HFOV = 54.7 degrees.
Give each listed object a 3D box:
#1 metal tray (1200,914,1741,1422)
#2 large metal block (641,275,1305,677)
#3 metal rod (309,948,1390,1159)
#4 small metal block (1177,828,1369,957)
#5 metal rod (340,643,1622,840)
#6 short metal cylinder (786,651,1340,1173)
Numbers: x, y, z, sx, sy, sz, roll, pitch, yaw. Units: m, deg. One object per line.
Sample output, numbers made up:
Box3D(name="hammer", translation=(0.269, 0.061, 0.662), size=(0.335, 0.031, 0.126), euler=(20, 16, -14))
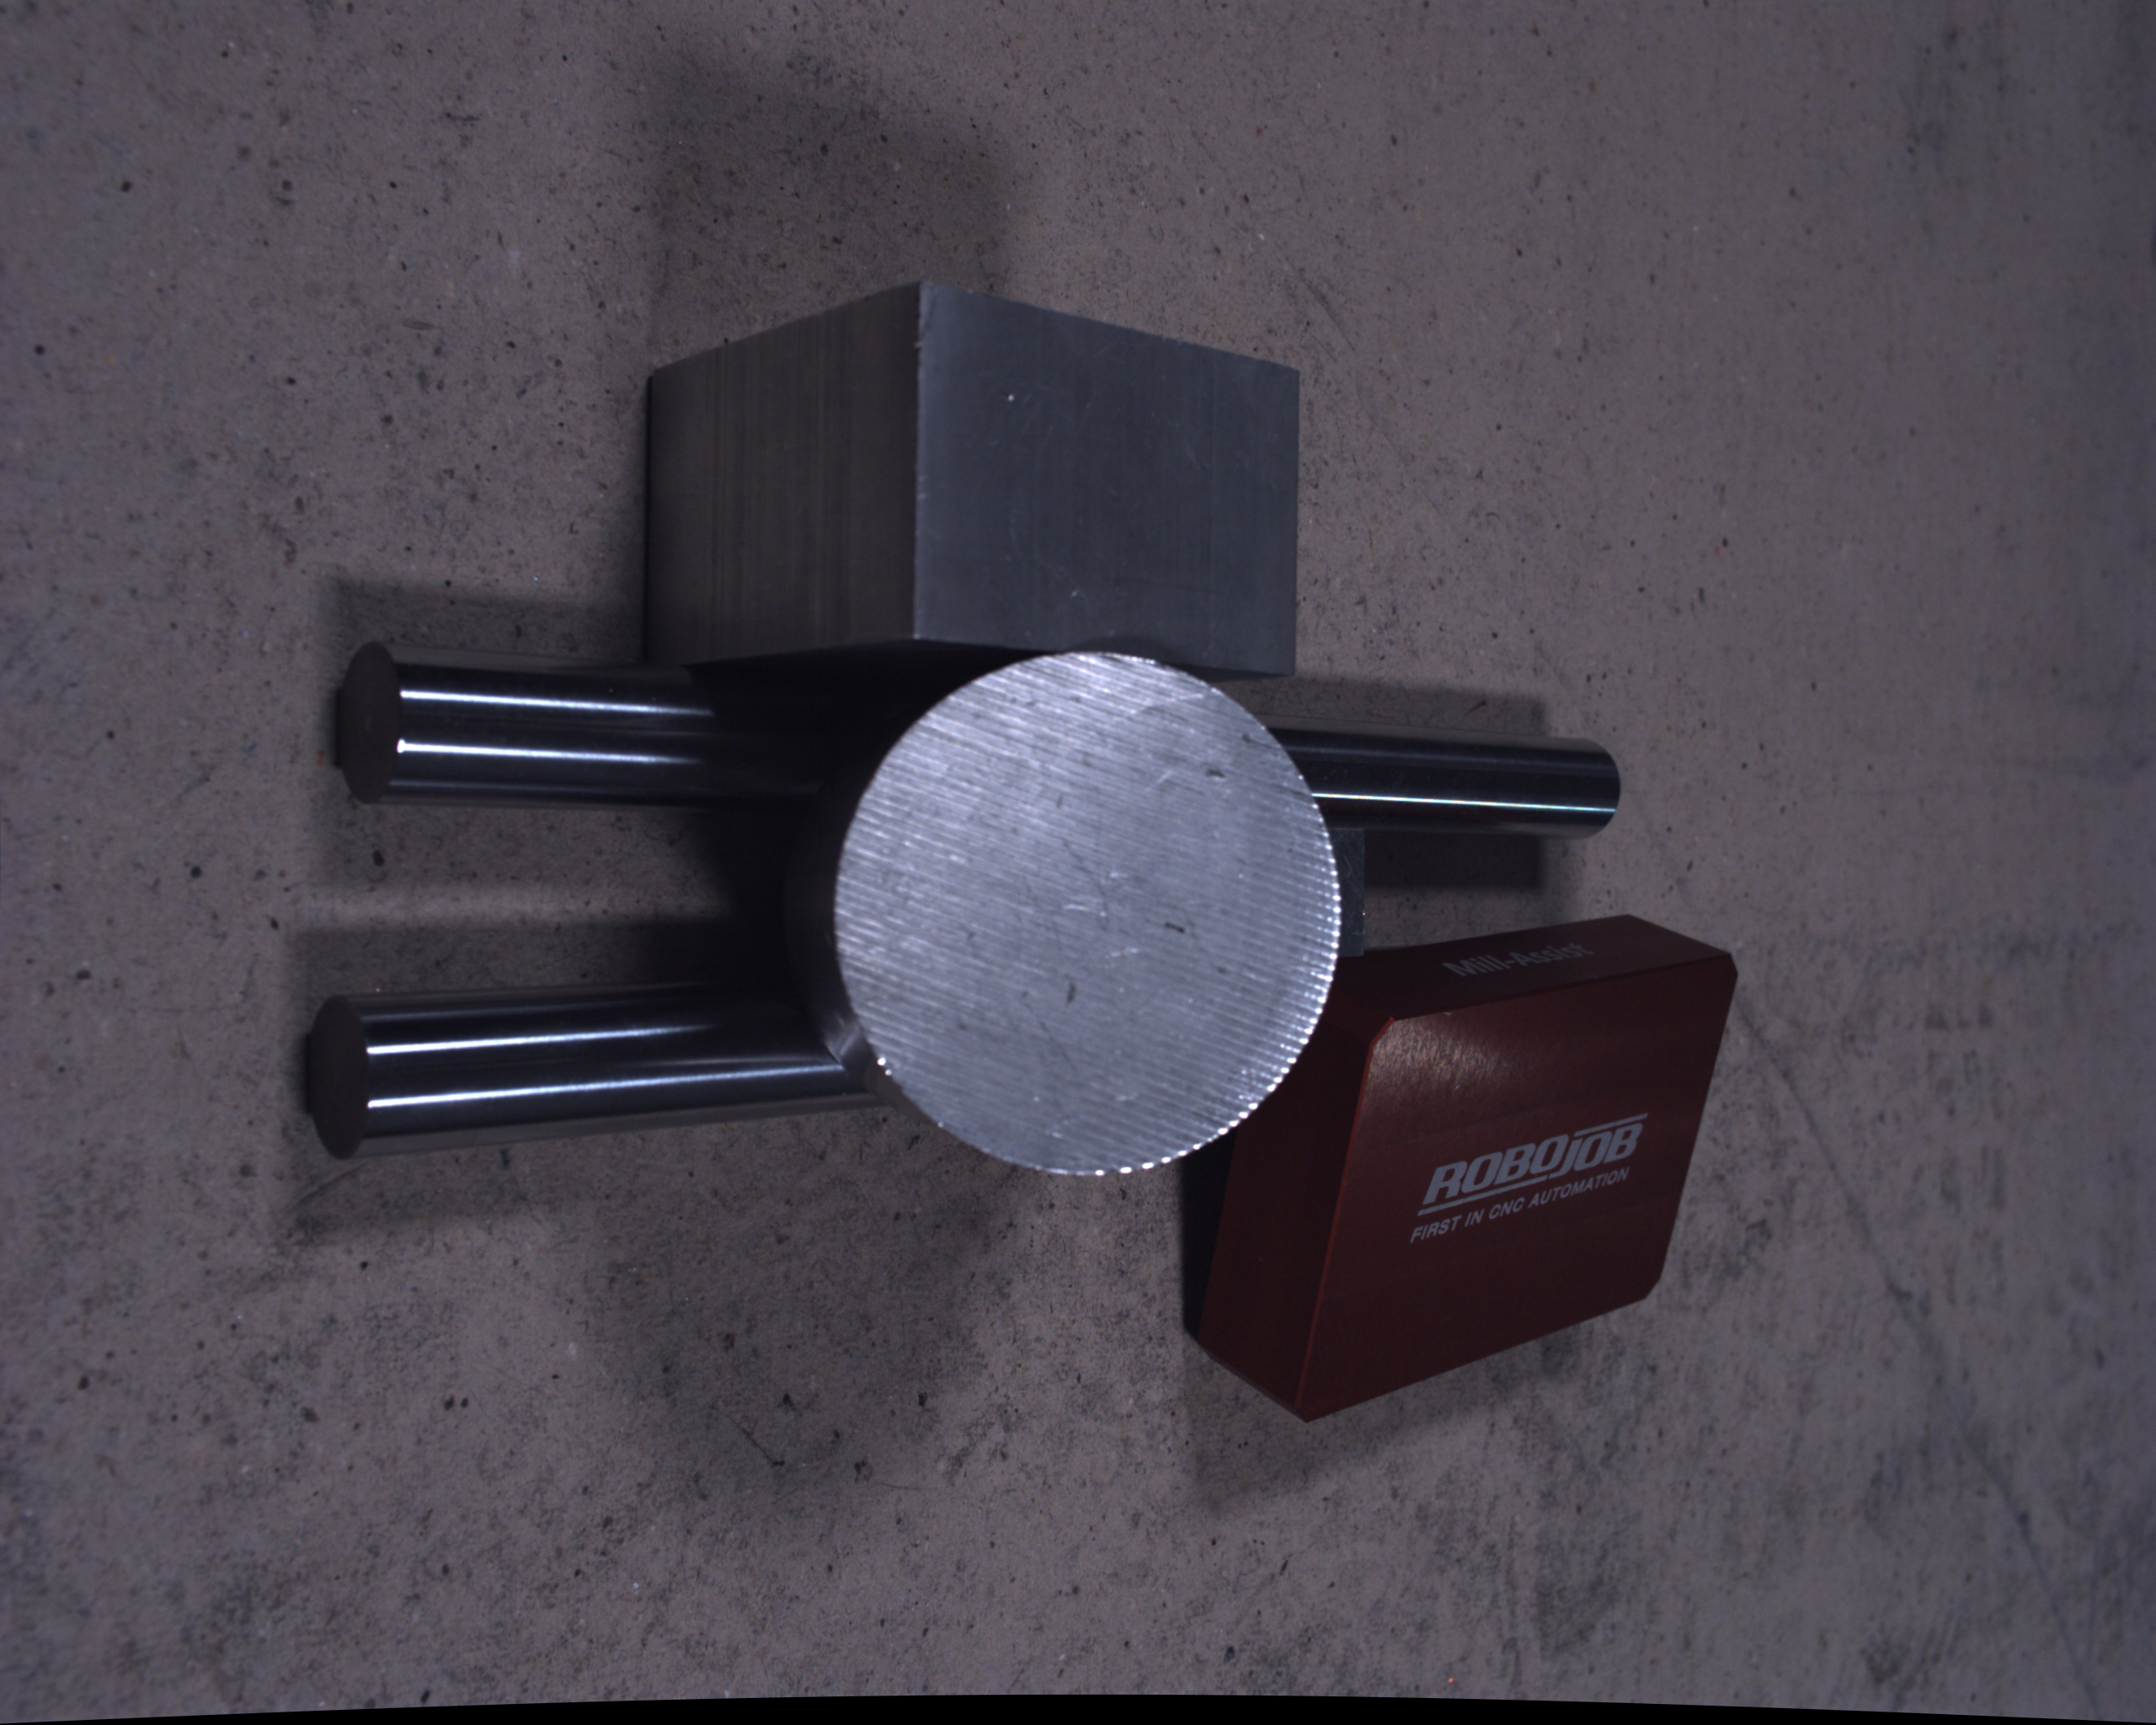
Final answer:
Box3D(name="metal tray", translation=(0.090, 0.063, 0.463), size=(0.131, 0.030, 0.089), euler=(-5, 111, -41))
Box3D(name="large metal block", translation=(-0.019, -0.060, 0.357), size=(0.081, 0.080, 0.050), euler=(1, 90, -40))
Box3D(name="metal rod", translation=(0.004, 0.032, 0.412), size=(0.302, 0.025, 0.025), euler=(0, 90, -40))
Box3D(name="small metal block", translation=(0.021, 0.005, 0.409), size=(0.050, 0.050, 0.025), euler=(1, 90, -40))
Box3D(name="metal rod", translation=(0.008, -0.019, 0.415), size=(0.302, 0.025, 0.025), euler=(1, 90, -40))
Box3D(name="short metal cylinder", translation=(-0.004, 0.008, 0.342), size=(0.081, 0.050, 0.080), euler=(0, 88, -16))
